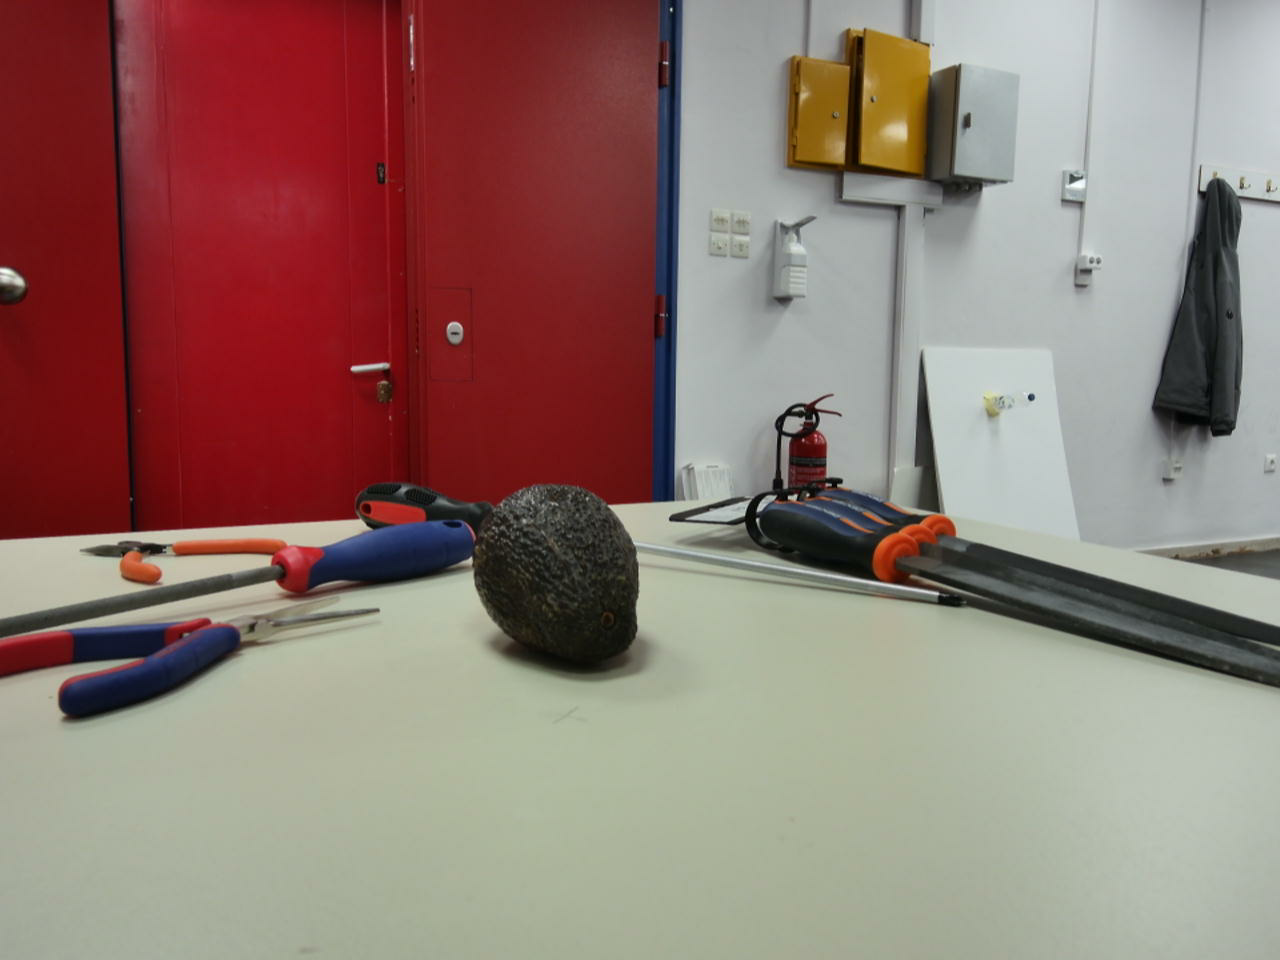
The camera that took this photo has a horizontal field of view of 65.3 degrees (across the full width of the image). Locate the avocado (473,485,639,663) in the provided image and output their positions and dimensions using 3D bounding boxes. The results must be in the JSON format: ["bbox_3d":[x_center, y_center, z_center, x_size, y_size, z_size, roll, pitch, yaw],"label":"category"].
[{"bbox_3d":[-0.036,0.037,0.417,0.070,0.069,0.090,0,4,-1],"label":"avocado"}]
